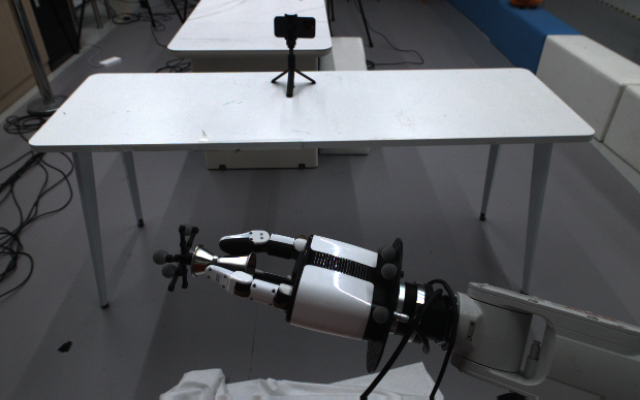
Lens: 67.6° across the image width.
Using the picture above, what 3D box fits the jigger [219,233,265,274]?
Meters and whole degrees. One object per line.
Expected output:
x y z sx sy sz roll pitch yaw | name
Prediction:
-0.107 0.072 0.585 0.071 0.043 0.043 7 35 7 | jigger
